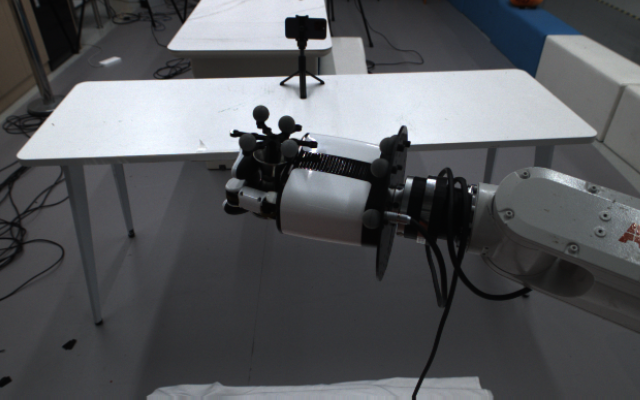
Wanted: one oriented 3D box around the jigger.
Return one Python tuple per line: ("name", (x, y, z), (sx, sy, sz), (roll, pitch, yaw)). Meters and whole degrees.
("jigger", (-0.051, -0.018, 0.521), (0.043, 0.071, 0.043), (6, 32, -4))
